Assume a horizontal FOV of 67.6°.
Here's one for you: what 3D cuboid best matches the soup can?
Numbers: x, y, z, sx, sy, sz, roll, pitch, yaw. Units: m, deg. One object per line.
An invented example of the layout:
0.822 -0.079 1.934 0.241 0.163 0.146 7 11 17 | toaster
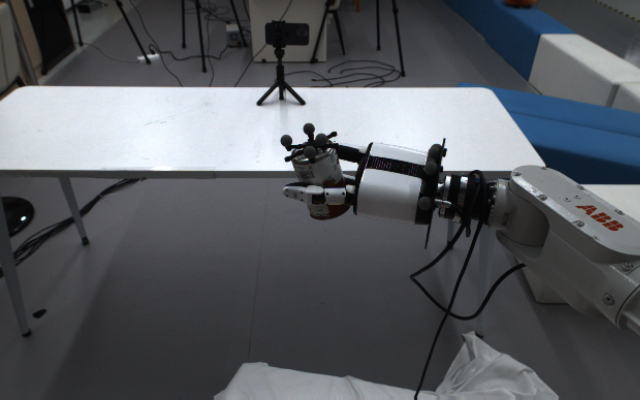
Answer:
0.003 -0.030 0.717 0.067 0.101 0.067 -13 31 8 | soup can
